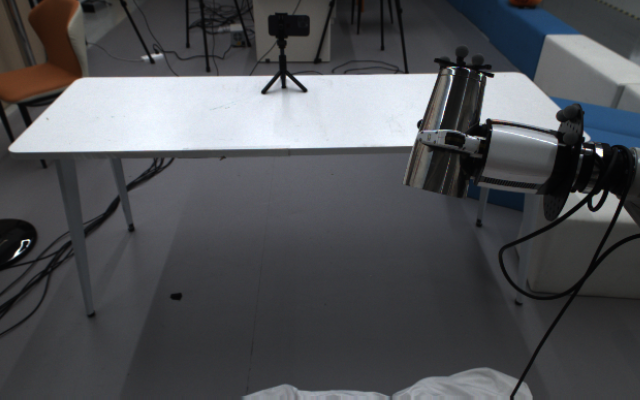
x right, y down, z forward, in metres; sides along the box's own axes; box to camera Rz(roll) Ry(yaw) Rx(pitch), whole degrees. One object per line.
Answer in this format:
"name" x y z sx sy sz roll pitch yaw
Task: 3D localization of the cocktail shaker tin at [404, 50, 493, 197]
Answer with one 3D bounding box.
"cocktail shaker tin" 0.182 -0.095 0.684 0.093 0.170 0.093 13 4 -1
